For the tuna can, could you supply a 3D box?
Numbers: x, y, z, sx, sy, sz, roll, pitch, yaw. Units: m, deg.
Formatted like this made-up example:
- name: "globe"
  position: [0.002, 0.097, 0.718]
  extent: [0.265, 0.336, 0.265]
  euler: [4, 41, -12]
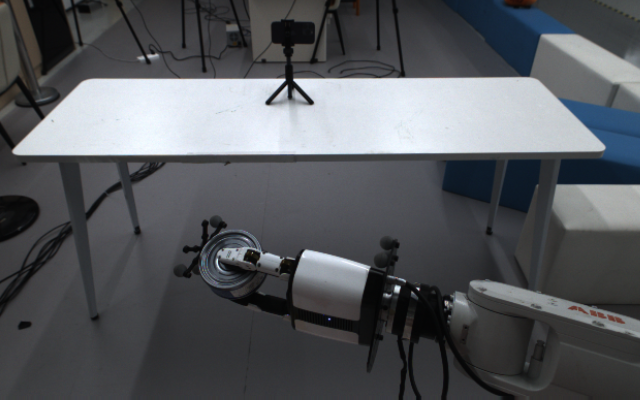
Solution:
- name: "tuna can"
  position: [-0.107, 0.087, 0.619]
  extent: [0.085, 0.034, 0.085]
  euler: [-3, 59, 5]
